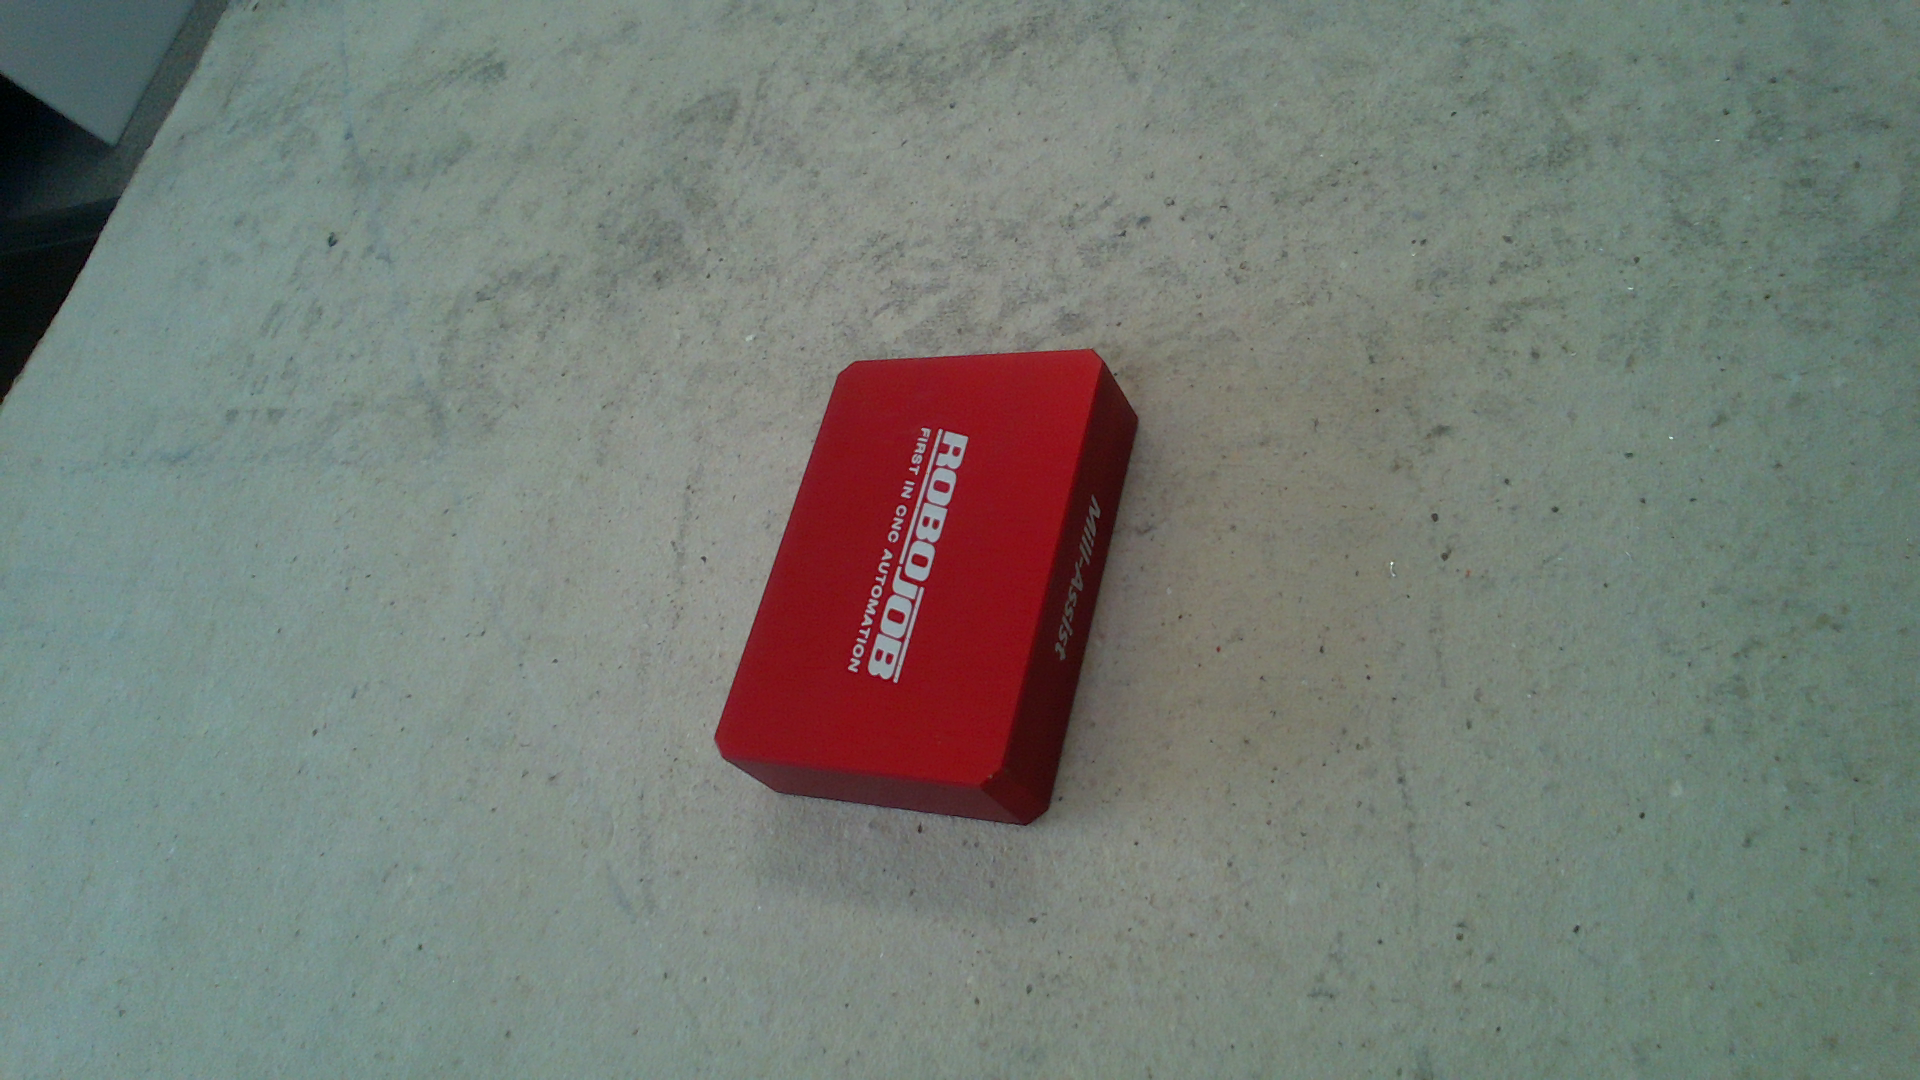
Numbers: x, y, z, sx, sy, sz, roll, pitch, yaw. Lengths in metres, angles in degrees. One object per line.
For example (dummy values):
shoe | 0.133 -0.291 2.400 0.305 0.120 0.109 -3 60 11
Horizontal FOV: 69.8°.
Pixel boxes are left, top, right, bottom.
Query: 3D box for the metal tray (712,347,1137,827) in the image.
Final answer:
metal tray | -0.008 0.009 0.389 0.090 0.030 0.130 1 63 29
